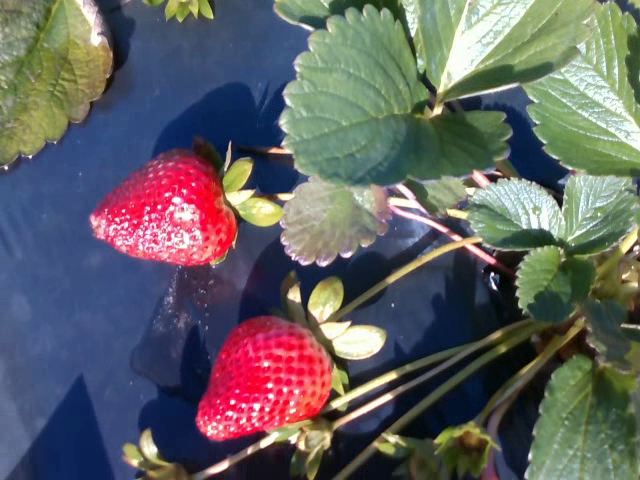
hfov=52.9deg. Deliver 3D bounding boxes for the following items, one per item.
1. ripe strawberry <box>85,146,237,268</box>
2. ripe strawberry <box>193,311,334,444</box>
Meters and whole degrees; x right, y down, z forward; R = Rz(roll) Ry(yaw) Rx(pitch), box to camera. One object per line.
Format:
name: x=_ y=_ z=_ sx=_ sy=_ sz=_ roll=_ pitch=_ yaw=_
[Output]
ripe strawberry: x=-0.056 y=-0.011 z=0.218 sx=0.050 sy=0.051 sz=0.044 roll=-9 pitch=-16 yaw=-25
ripe strawberry: x=-0.019 y=0.044 z=0.187 sx=0.049 sy=0.039 sz=0.042 roll=-32 pitch=28 yaw=-36
